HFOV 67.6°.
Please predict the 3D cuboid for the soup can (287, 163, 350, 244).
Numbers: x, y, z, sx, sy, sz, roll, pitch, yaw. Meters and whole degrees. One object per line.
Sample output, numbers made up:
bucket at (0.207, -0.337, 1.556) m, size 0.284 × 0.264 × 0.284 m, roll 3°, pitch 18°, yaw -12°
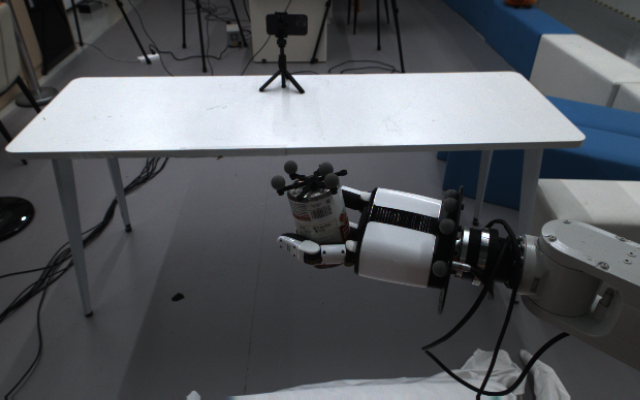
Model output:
soup can at (0.004, 0.026, 0.608) m, size 0.067 × 0.101 × 0.067 m, roll -11°, pitch 27°, yaw 6°
